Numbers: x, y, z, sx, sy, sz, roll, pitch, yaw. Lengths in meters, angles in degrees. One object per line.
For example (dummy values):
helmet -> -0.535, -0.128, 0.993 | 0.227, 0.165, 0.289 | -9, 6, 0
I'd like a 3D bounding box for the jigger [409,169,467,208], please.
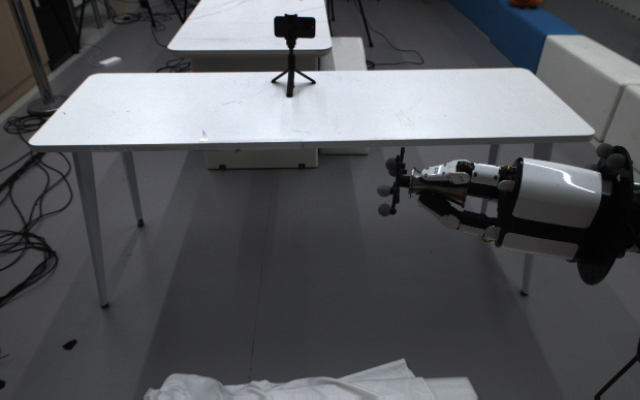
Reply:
jigger -> 0.153, -0.021, 0.601 | 0.071, 0.043, 0.043 | 10, 35, 15
